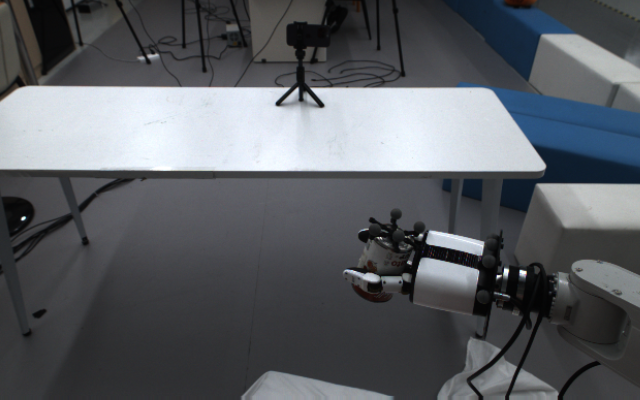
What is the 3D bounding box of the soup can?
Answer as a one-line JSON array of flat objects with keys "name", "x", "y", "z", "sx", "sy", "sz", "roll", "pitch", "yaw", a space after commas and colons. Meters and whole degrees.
[{"name": "soup can", "x": 0.094, "y": 0.095, "z": 0.727, "sx": 0.067, "sy": 0.101, "sz": 0.067, "roll": 13, "pitch": 30, "yaw": -8}]
